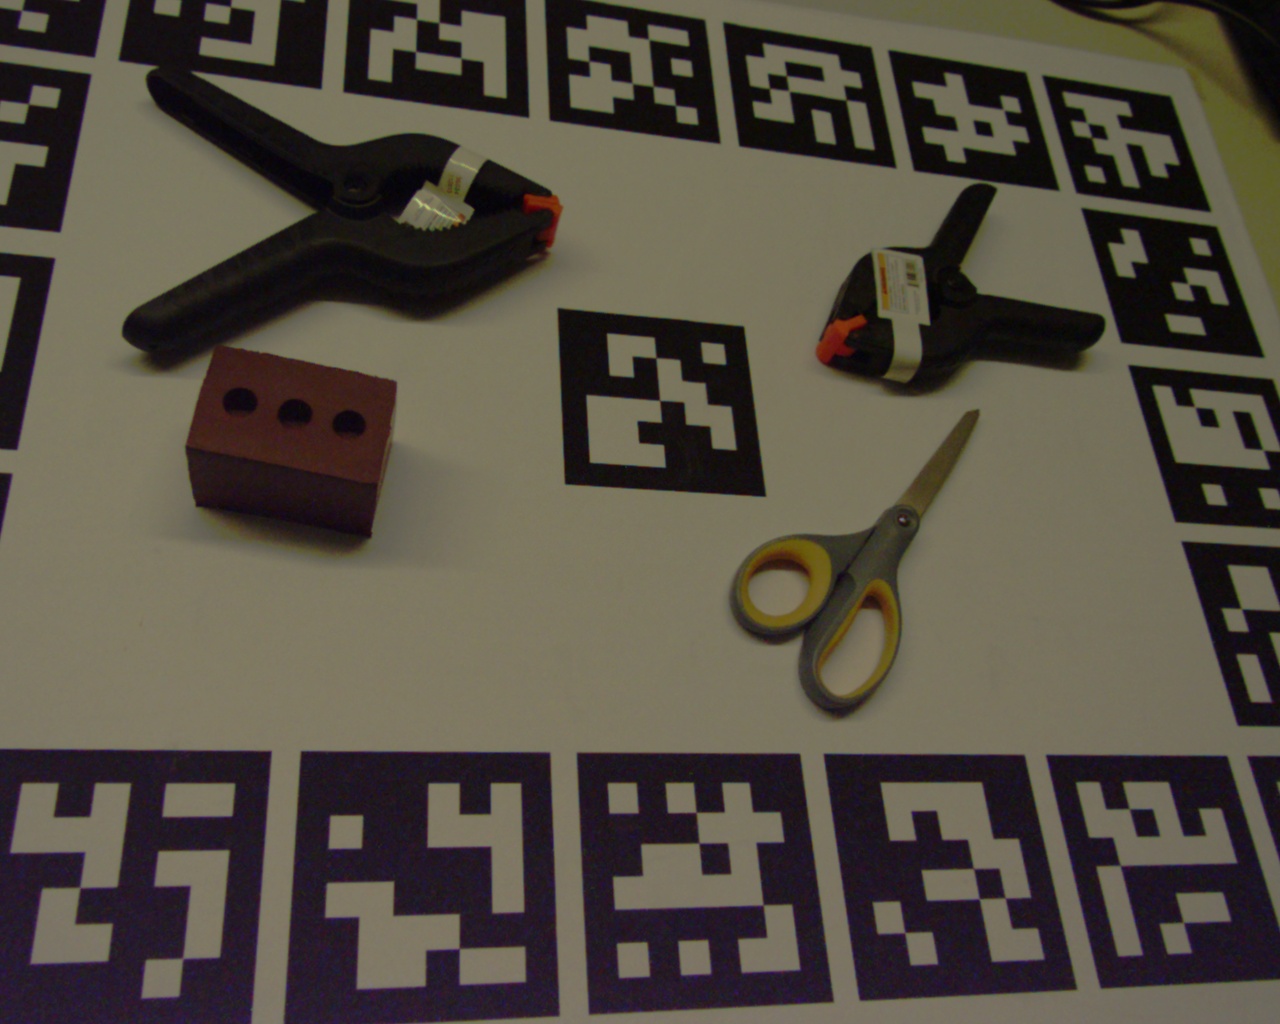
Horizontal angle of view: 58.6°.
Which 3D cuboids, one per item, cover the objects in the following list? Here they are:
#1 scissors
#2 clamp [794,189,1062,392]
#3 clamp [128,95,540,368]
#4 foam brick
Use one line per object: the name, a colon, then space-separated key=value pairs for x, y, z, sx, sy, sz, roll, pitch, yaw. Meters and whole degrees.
scissors: x=0.108 y=0.013 z=0.596 sx=0.087 sy=0.016 sz=0.201 roll=41 pitch=60 yaw=-2
clamp: x=0.160 y=-0.117 z=0.668 sx=0.164 sy=0.037 sz=0.122 roll=-25 pitch=81 yaw=-23
clamp: x=-0.153 y=-0.144 z=0.592 sx=0.201 sy=0.037 sz=0.166 roll=-1 pitch=63 yaw=-16
foam brick: x=-0.160 y=-0.022 z=0.527 sx=0.078 sy=0.051 sz=0.053 roll=9 pitch=65 yaw=-6
